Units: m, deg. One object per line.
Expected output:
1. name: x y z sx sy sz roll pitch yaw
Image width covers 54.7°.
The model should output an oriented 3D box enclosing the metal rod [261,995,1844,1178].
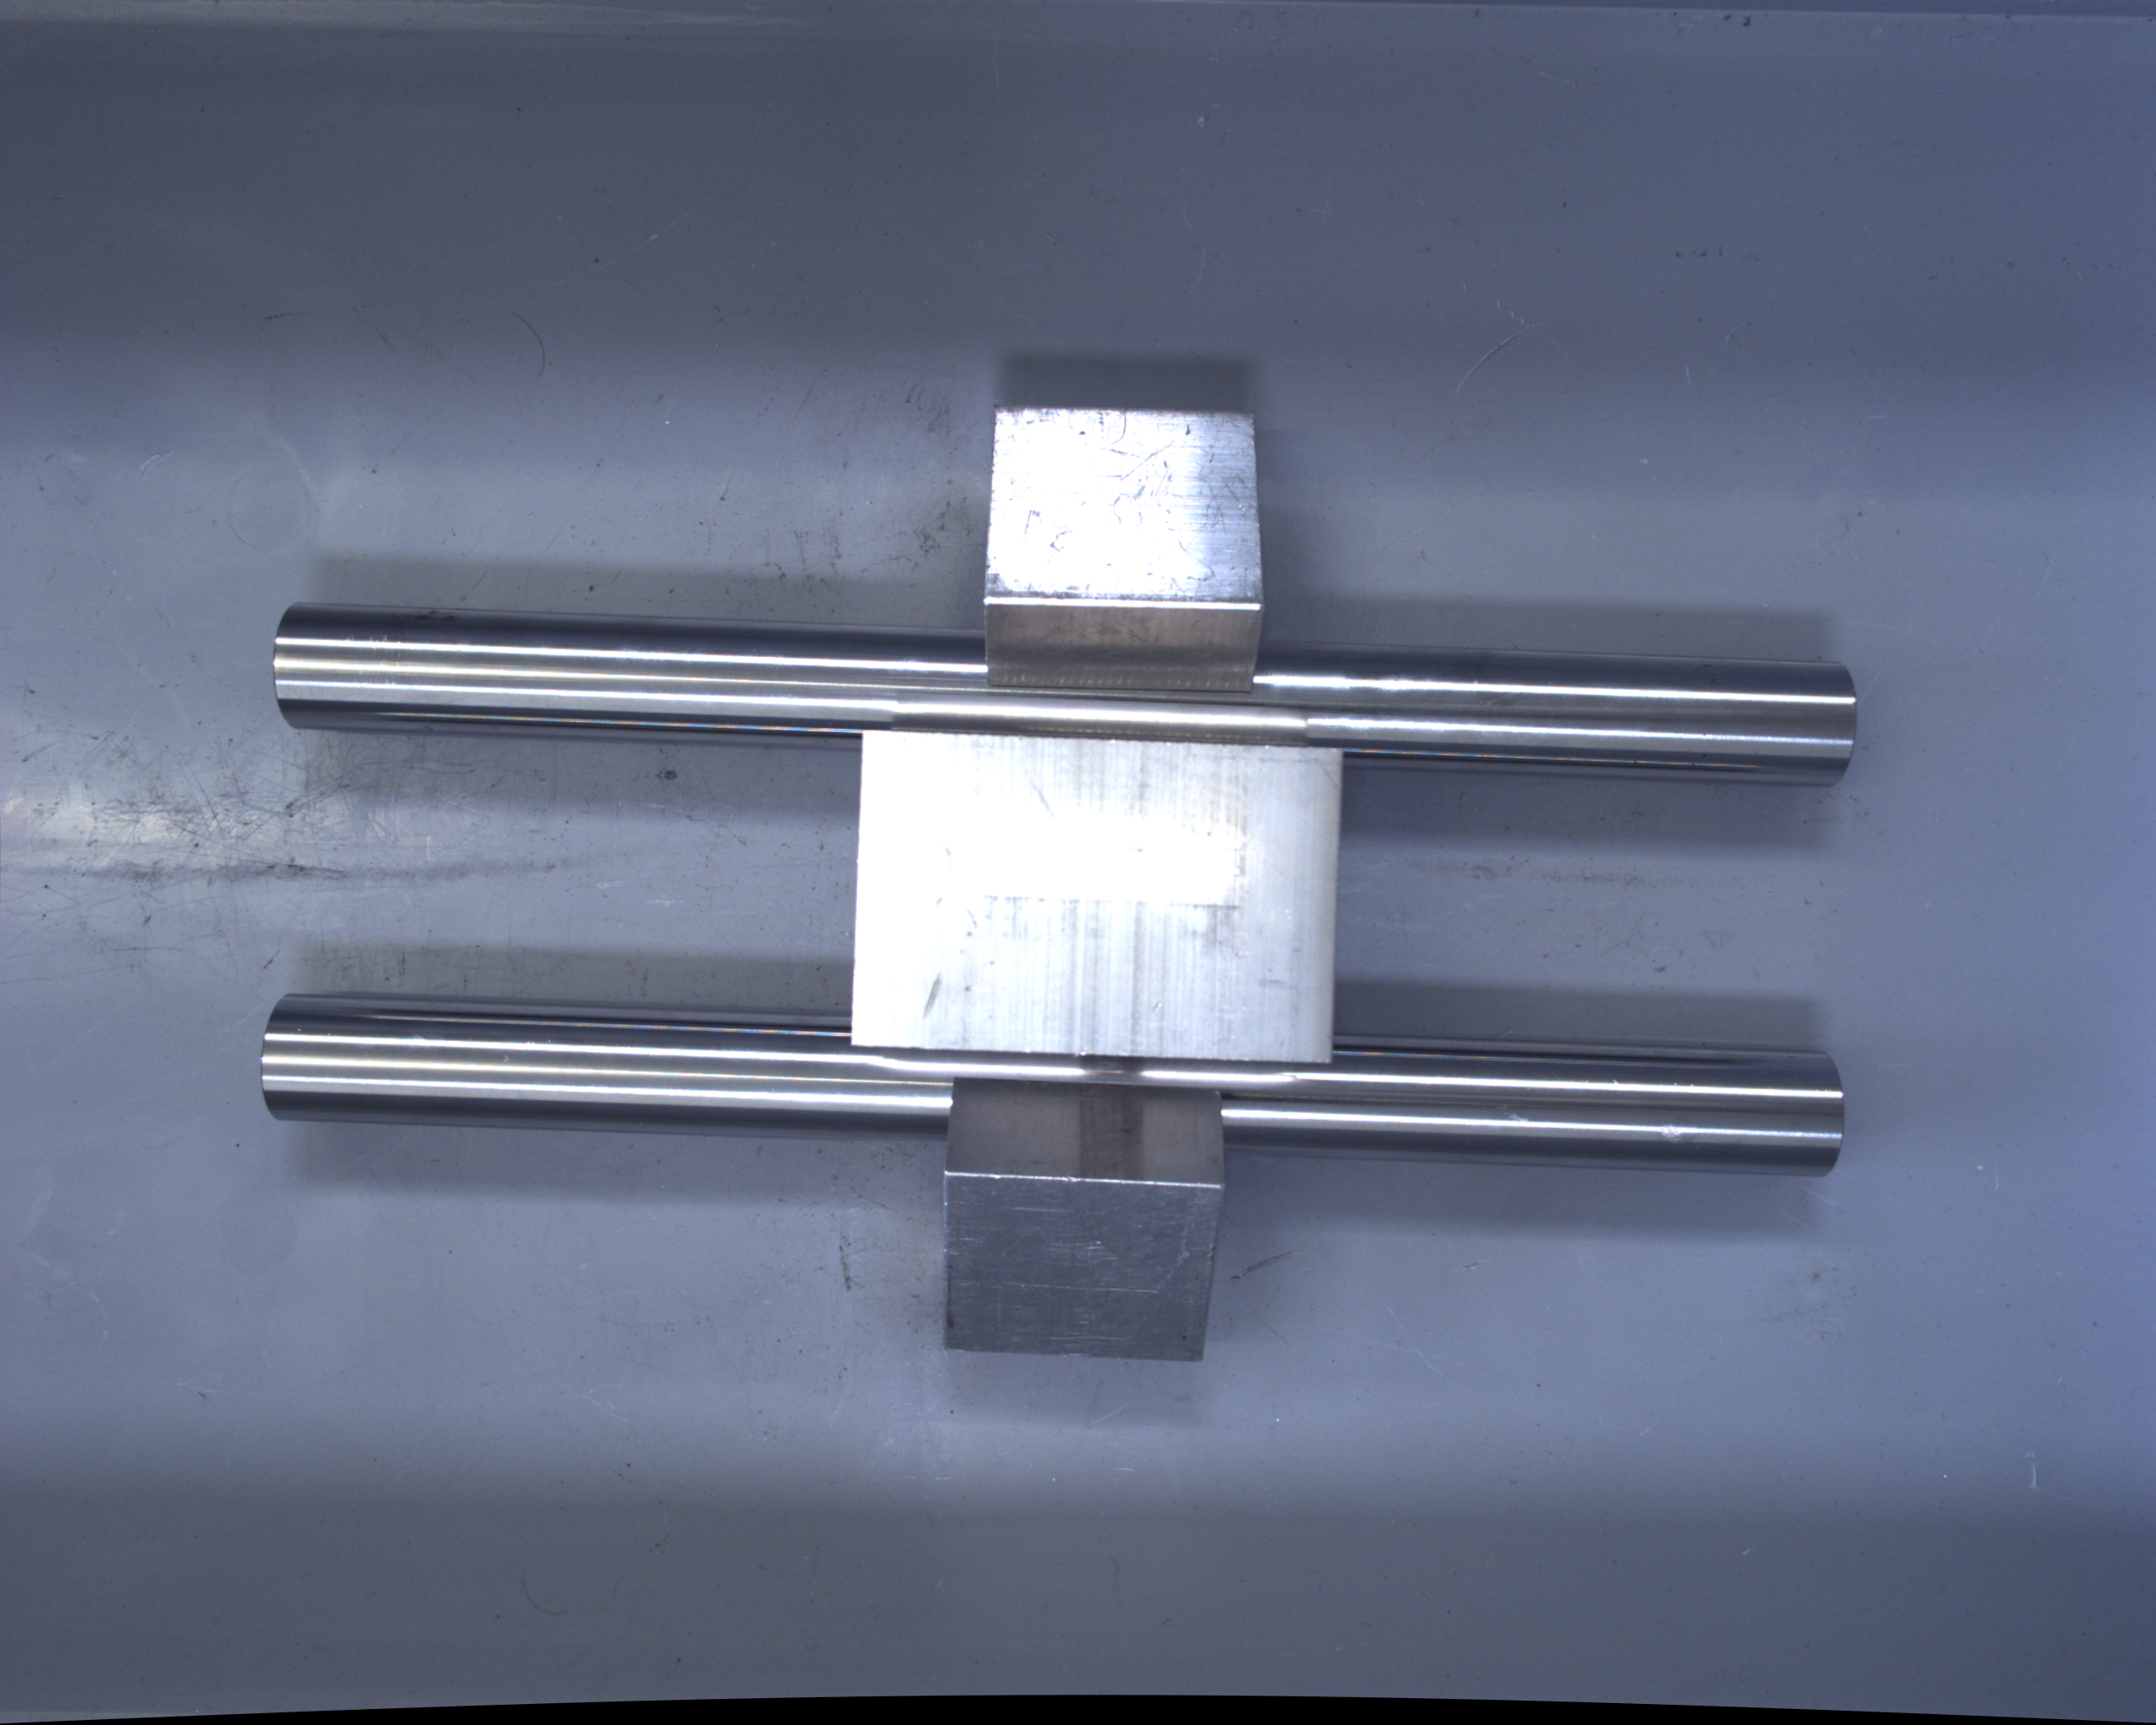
1. metal rod: -0.004 0.044 0.410 0.302 0.025 0.025 2 90 -1

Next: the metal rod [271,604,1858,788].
1. metal rod: -0.002 -0.032 0.409 0.302 0.025 0.025 2 90 -1

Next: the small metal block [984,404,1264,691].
1. small metal block: 0.008 -0.060 0.398 0.050 0.025 0.050 1 56 -1

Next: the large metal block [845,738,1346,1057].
1. large metal block: 0.003 0.006 0.381 0.081 0.080 0.050 2 90 0

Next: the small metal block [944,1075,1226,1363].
1. small metal block: 0.001 0.068 0.398 0.050 0.025 0.050 3 128 -1
